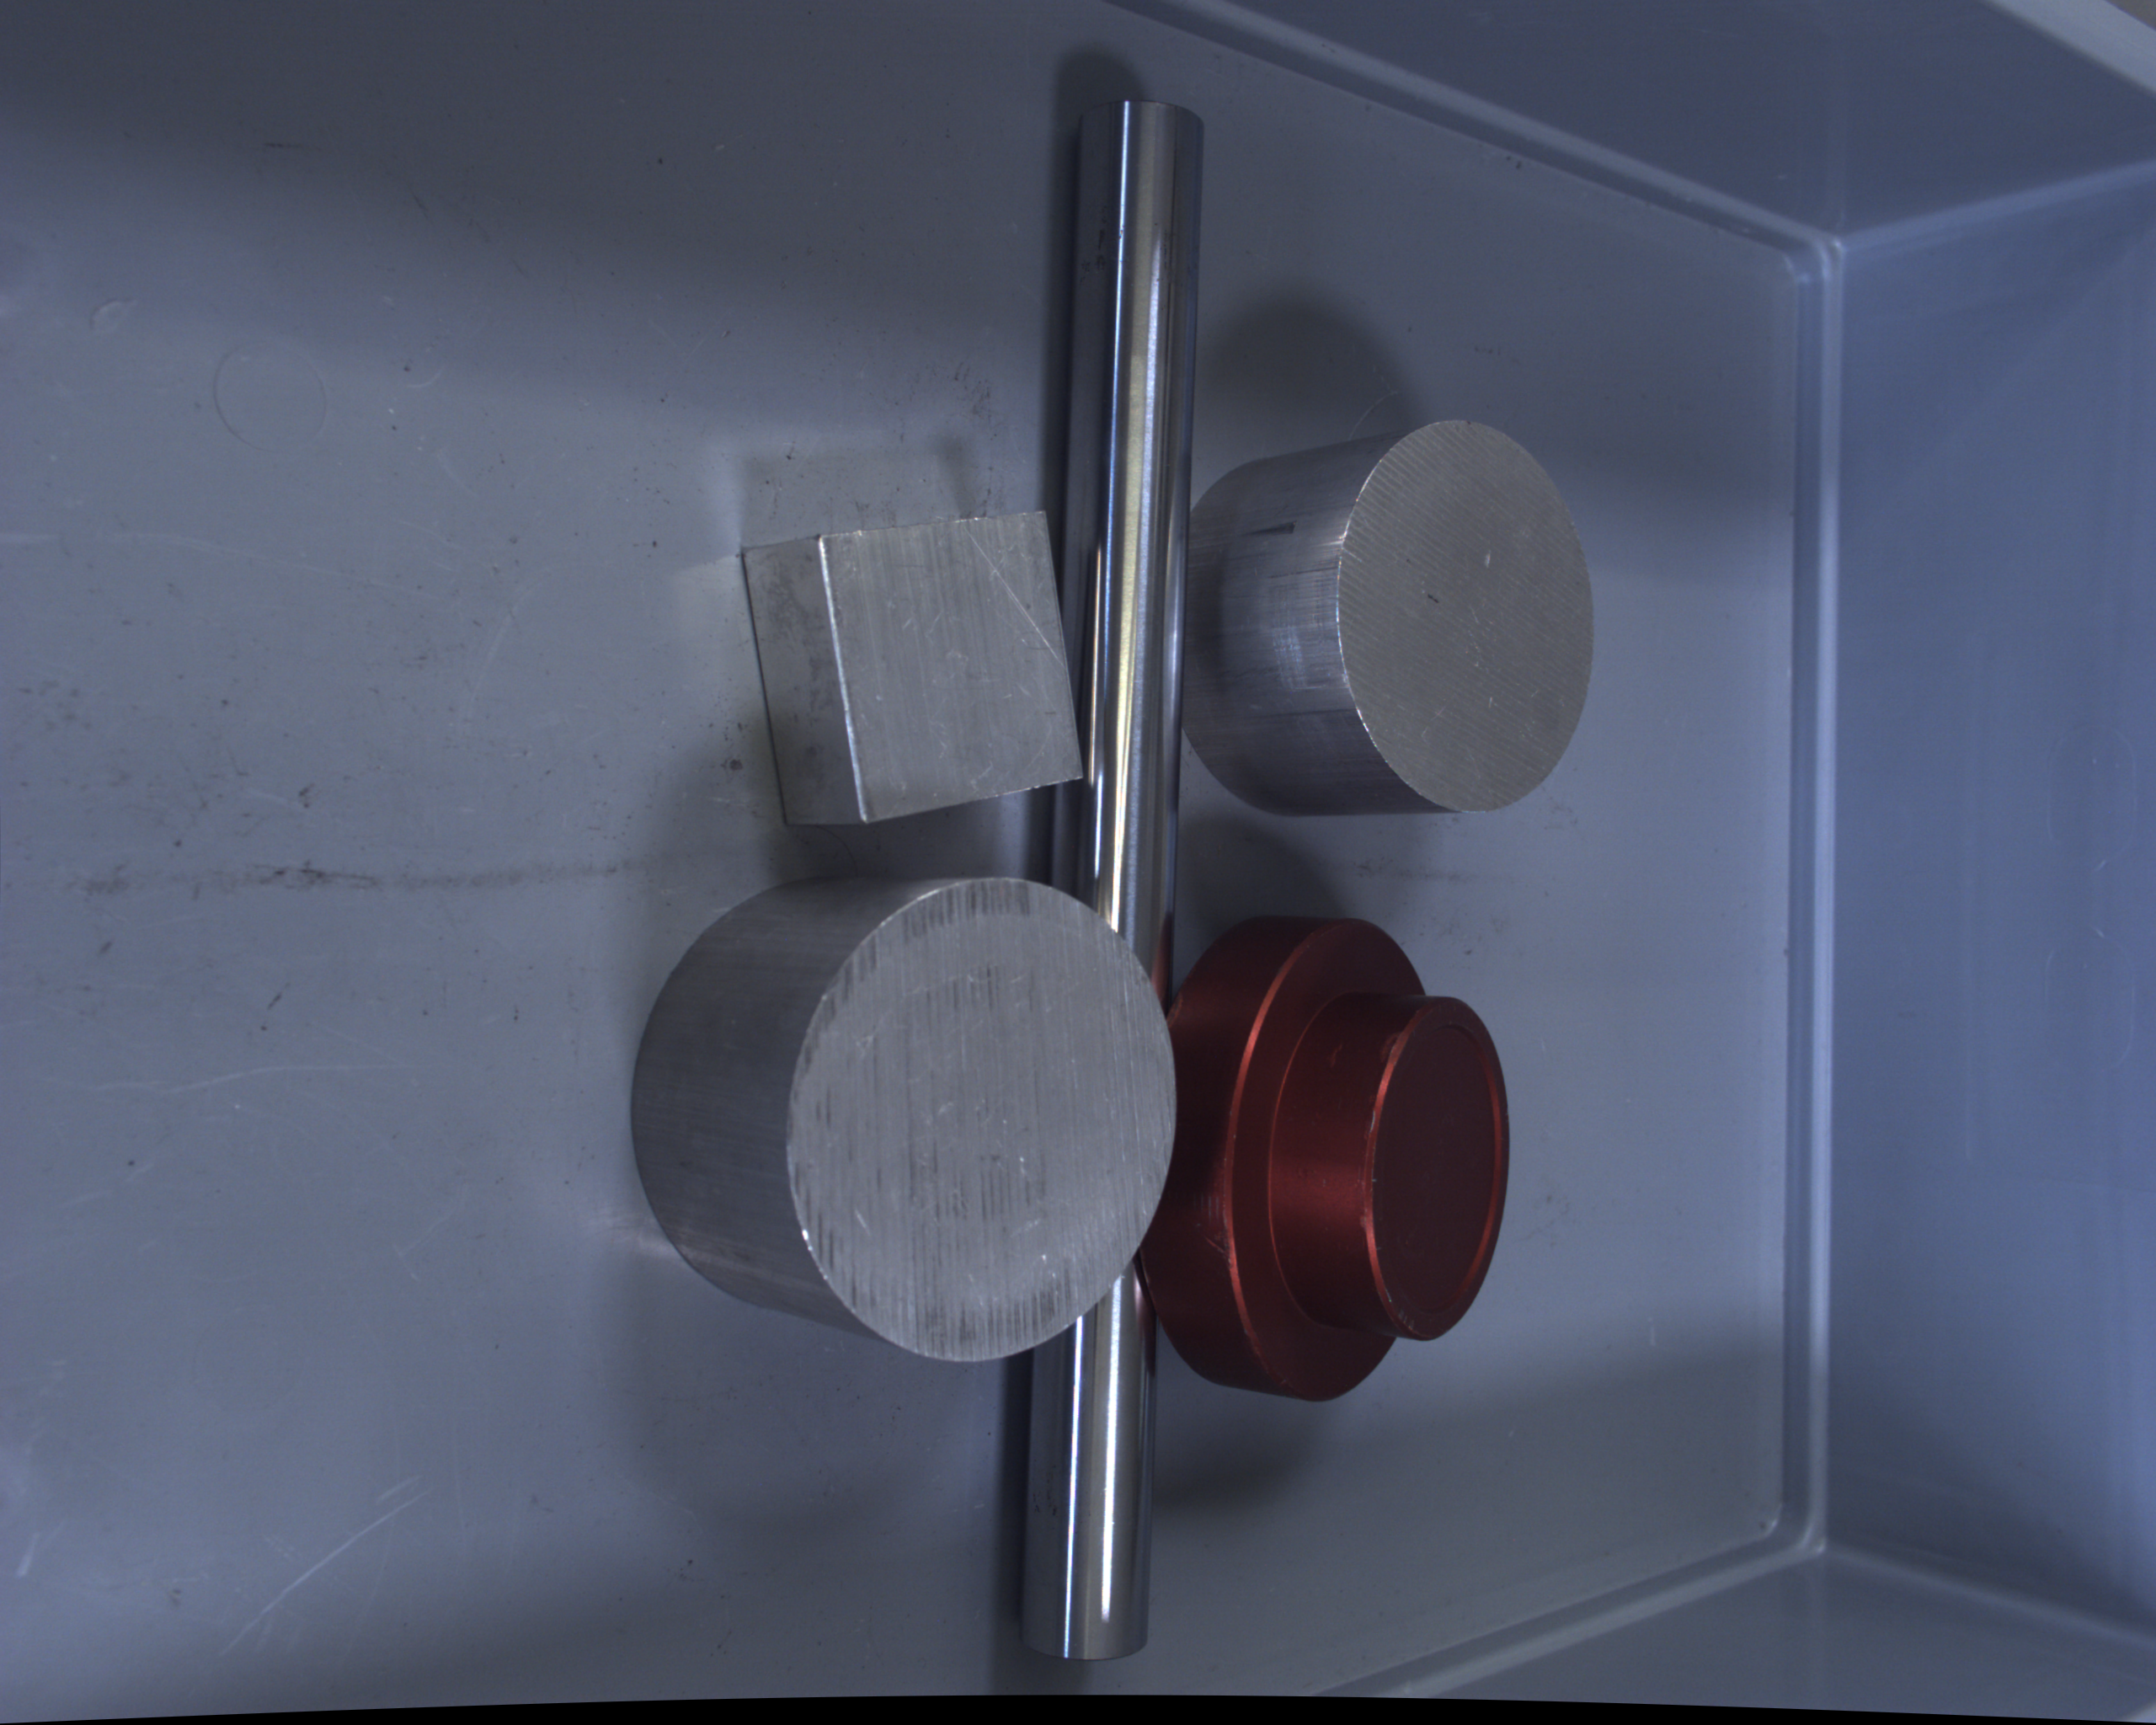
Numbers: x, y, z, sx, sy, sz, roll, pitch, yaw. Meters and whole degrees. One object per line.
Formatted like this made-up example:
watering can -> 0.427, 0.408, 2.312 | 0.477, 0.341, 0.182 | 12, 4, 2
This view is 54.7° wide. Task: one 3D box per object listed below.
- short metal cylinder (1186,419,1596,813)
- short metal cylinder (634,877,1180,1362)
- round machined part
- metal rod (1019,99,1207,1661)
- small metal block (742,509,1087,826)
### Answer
short metal cylinder -> 0.064, -0.050, 0.442 | 0.081, 0.050, 0.079 | 0, 90, -40
short metal cylinder -> -0.029, 0.042, 0.363 | 0.081, 0.050, 0.079 | 0, 90, -40
round machined part -> 0.055, 0.060, 0.424 | 0.099, 0.042, 0.097 | 1, 89, -56
metal rod -> 0.007, 0.002, 0.410 | 0.025, 0.025, 0.298 | 4, 88, -40
small metal block -> -0.029, -0.036, 0.380 | 0.050, 0.025, 0.050 | -15, 99, -39
